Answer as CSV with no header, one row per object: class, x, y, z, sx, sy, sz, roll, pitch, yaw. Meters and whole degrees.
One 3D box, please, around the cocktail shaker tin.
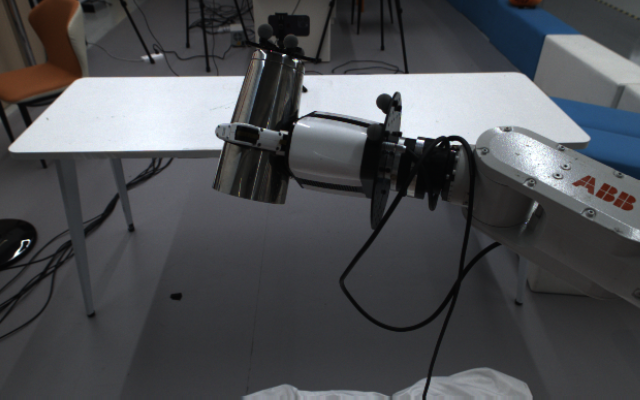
cocktail shaker tin,-0.068,-0.088,0.590,0.093,0.170,0.093,13,4,-1
